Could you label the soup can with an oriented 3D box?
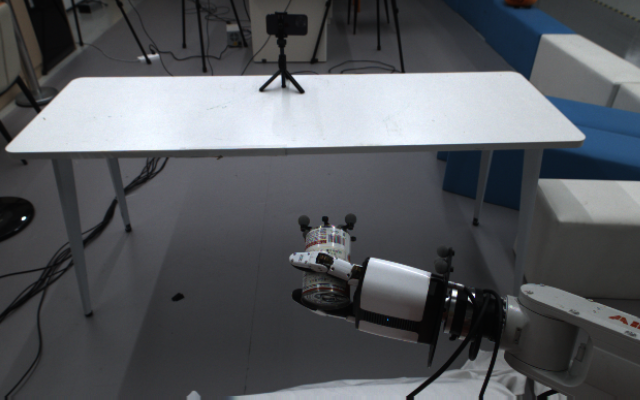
[{"bbox_3d":[0.011,0.095,0.680,0.067,0.067,0.101,3,56,1],"label":"soup can"}]
